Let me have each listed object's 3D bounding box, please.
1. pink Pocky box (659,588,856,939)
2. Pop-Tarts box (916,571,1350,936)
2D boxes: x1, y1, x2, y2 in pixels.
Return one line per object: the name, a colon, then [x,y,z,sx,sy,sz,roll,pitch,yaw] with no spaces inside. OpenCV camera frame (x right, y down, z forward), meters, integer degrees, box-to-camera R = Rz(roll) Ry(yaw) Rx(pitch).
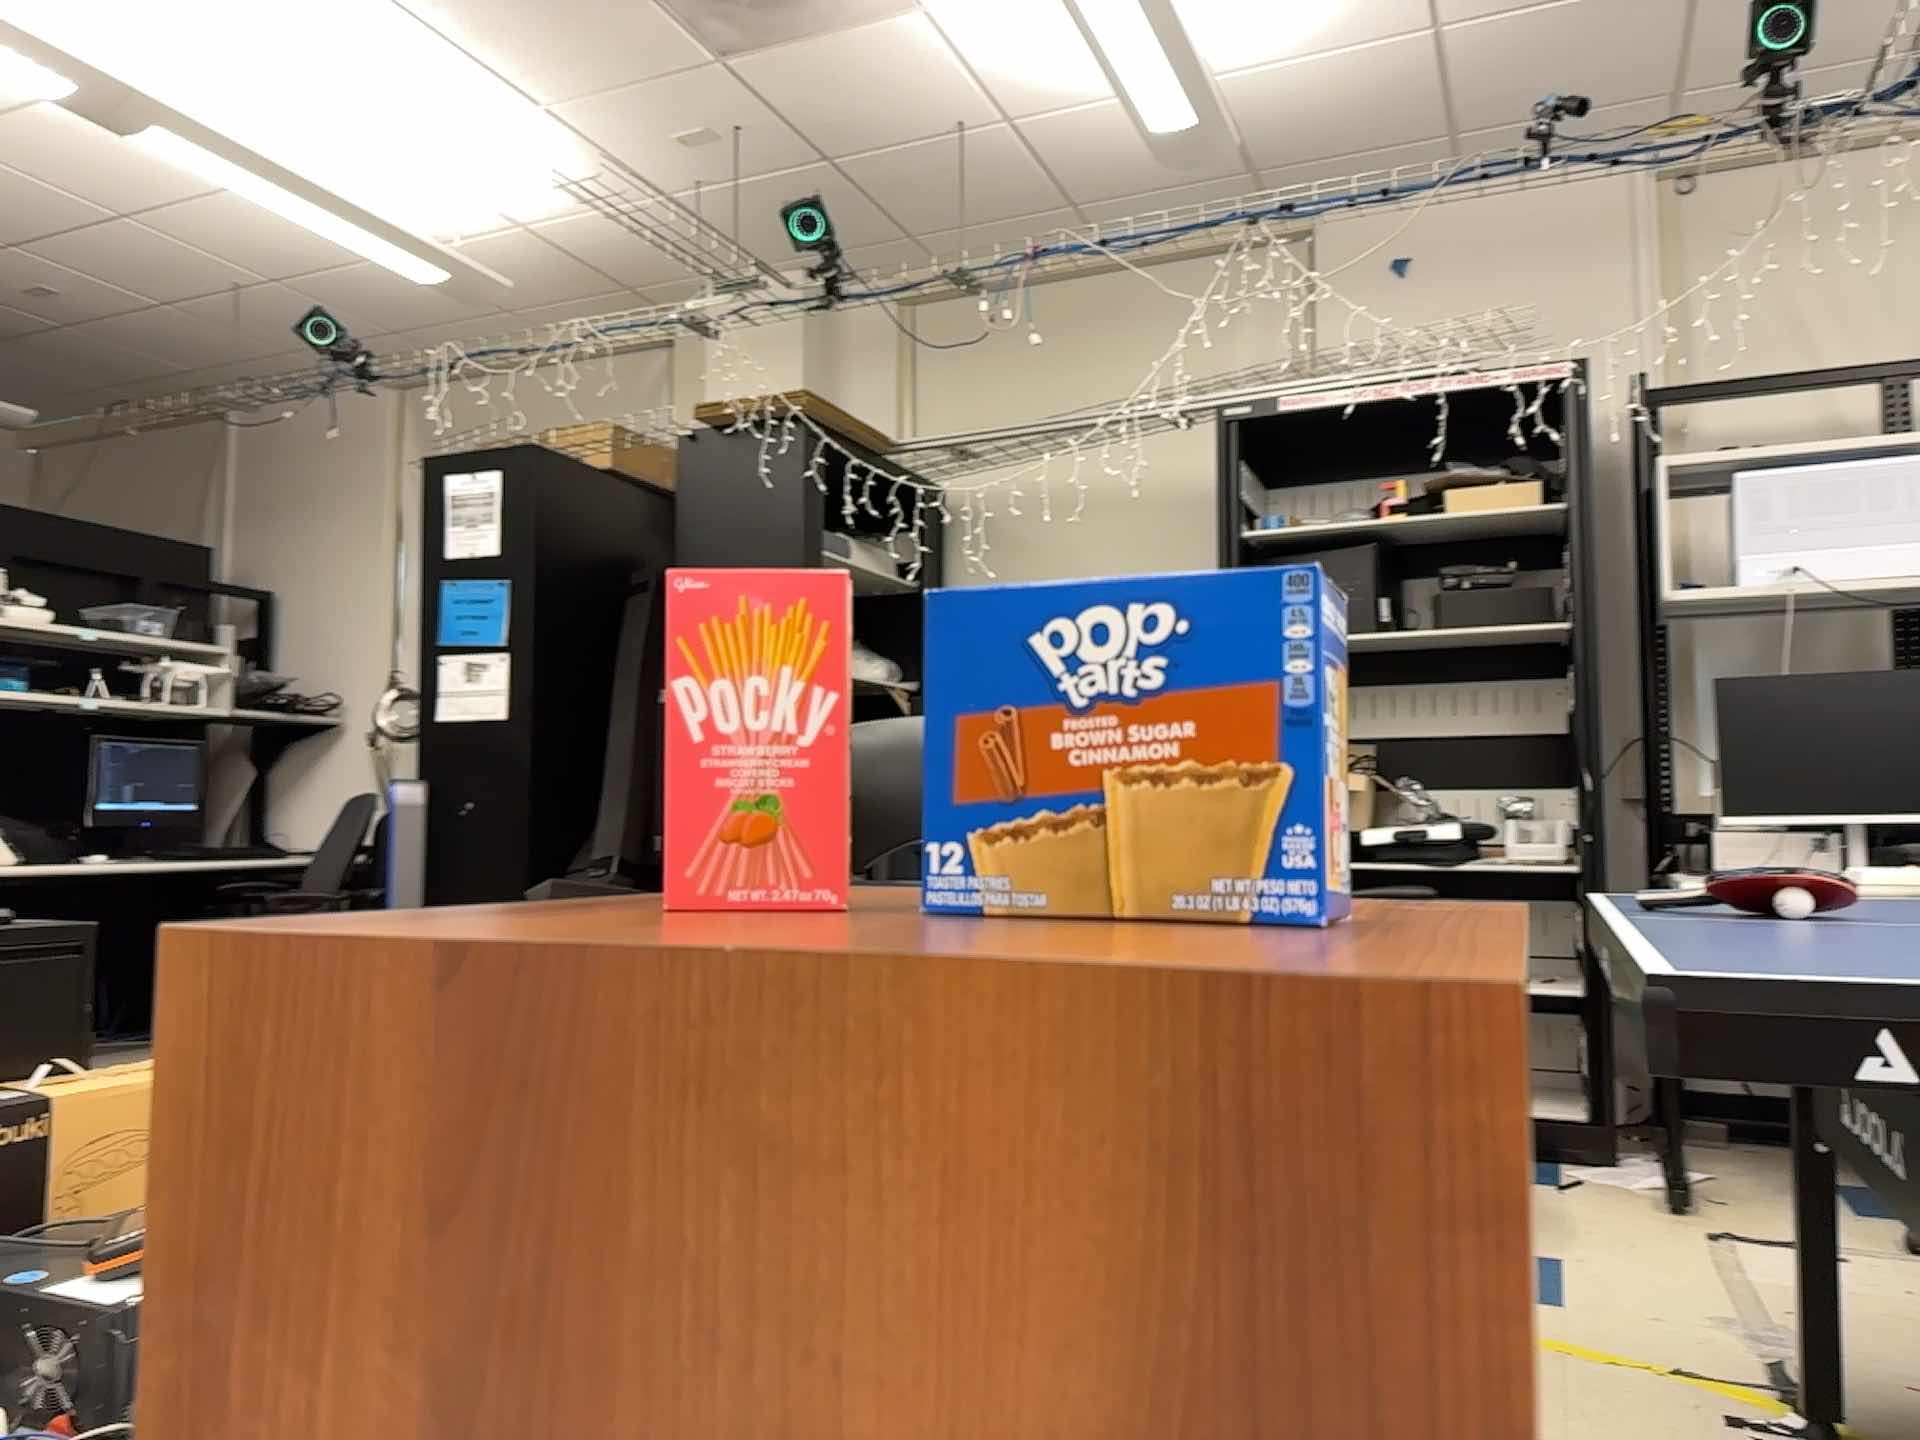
pink Pocky box: [-0.089,0.019,0.599,0.084,0.155,0.029,0,-5,1]
Pop-Tarts box: [0.074,0.018,0.572,0.161,0.135,0.075,-1,-8,22]
